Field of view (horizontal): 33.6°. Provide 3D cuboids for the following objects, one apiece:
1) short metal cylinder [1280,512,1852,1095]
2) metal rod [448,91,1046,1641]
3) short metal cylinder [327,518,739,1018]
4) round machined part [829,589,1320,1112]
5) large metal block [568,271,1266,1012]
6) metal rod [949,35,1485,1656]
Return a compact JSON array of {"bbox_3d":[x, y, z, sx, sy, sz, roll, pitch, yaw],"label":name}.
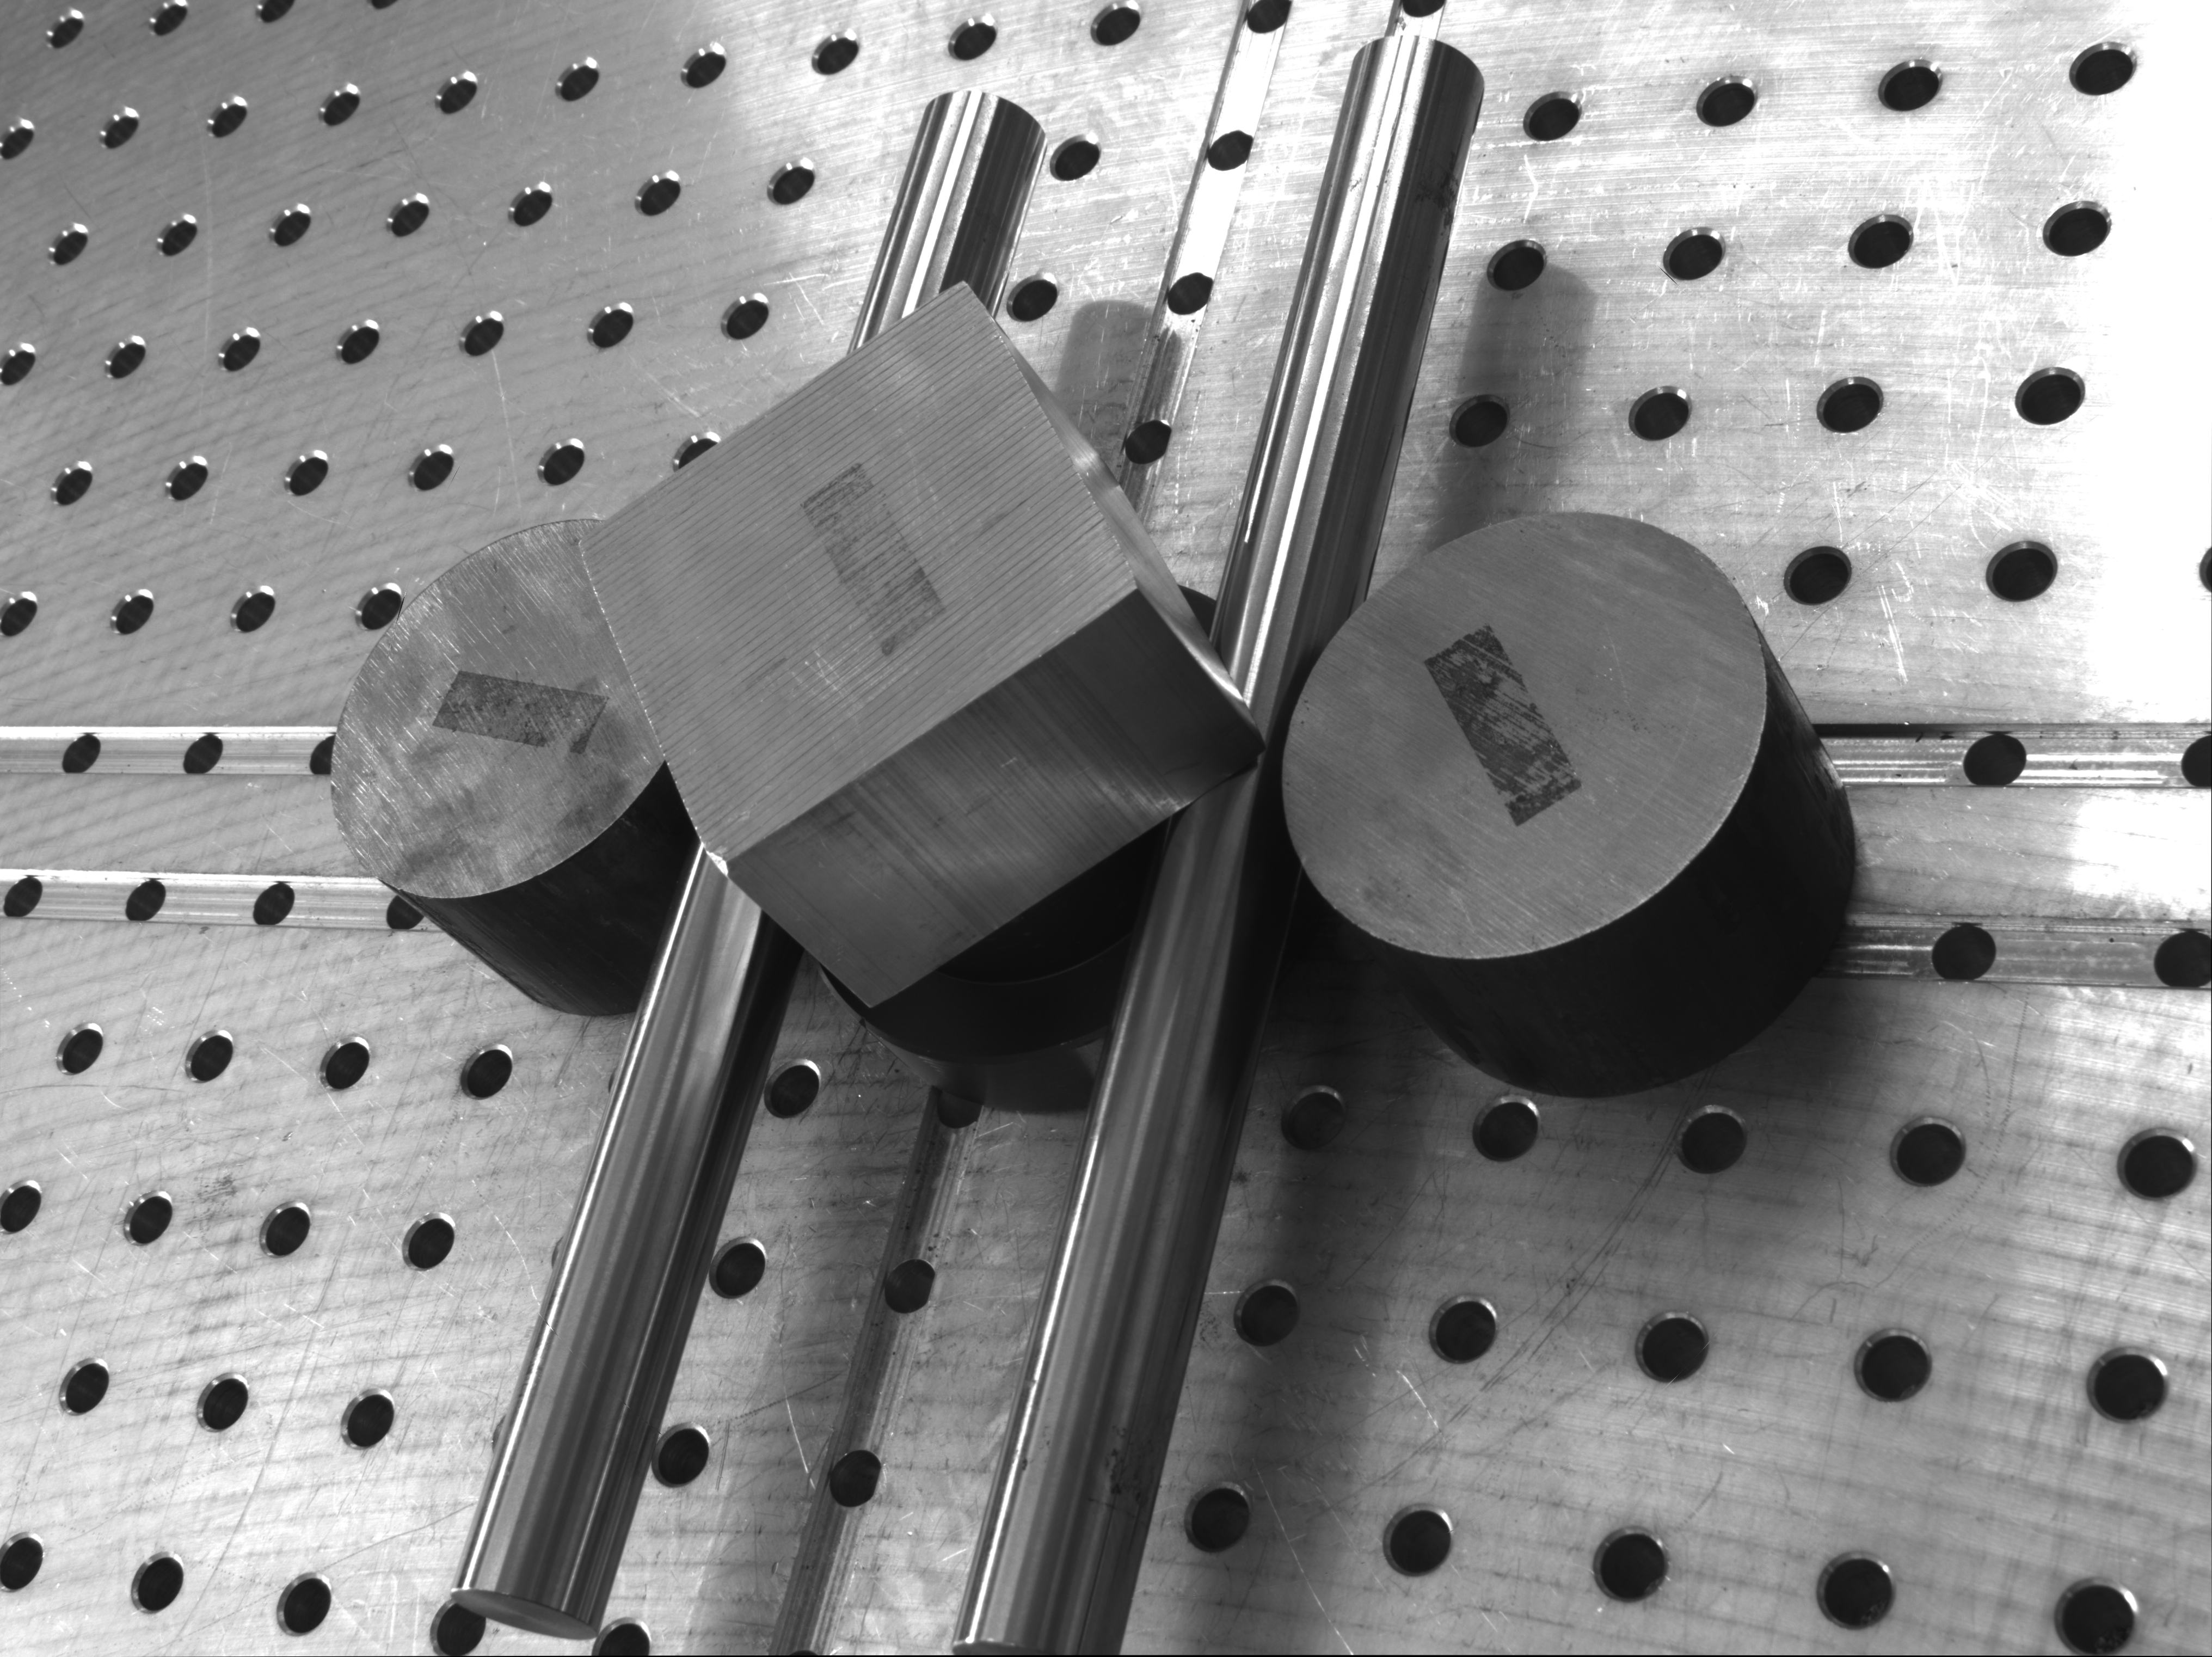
[{"bbox_3d":[0.075,-0.004,0.593,0.080,0.050,0.080,-14,56,21],"label":"short metal cylinder"},{"bbox_3d":[-0.059,-0.005,0.655,0.025,0.025,0.300,0,62,29],"label":"metal rod"},{"bbox_3d":[-0.099,-0.011,0.692,0.080,0.050,0.080,-14,56,21],"label":"short metal cylinder"},{"bbox_3d":[-0.012,-0.003,0.646,0.098,0.042,0.098,-13,56,21],"label":"round machined part"},{"bbox_3d":[-0.032,-0.031,0.607,0.080,0.050,0.080,-33,51,7],"label":"large metal block"},{"bbox_3d":[0.023,-0.006,0.612,0.025,0.025,0.300,0,61,29],"label":"metal rod"}]
